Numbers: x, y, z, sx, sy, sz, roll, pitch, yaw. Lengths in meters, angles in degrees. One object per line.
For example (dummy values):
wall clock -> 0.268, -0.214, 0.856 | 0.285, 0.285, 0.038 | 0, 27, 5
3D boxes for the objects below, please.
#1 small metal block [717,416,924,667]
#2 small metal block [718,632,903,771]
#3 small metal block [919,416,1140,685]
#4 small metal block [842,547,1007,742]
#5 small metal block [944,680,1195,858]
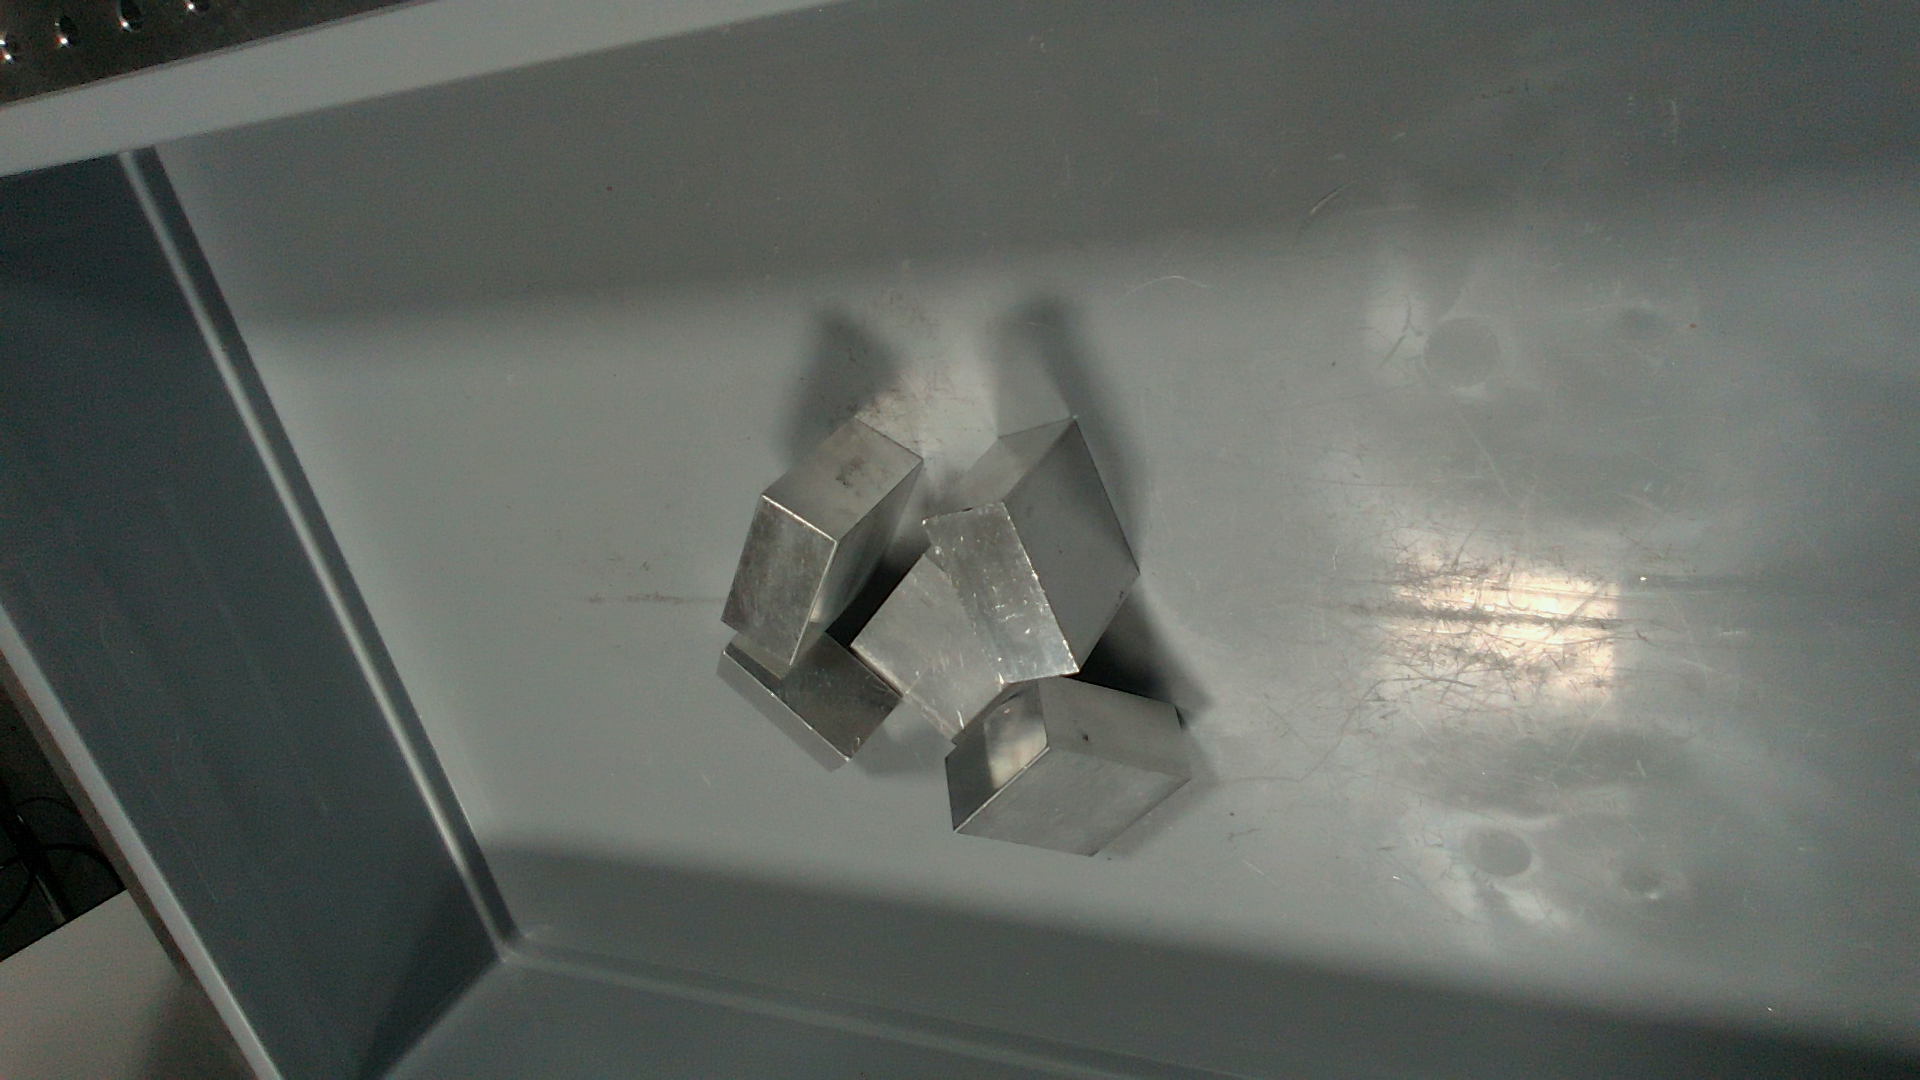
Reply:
small metal block -> -0.040, 0.000, 0.396 | 0.025, 0.050, 0.050 | 32, 129, 8
small metal block -> -0.049, 0.046, 0.431 | 0.050, 0.025, 0.050 | 42, 162, 0
small metal block -> 0.020, 0.002, 0.365 | 0.025, 0.050, 0.050 | -12, 112, 32
small metal block -> 0.001, 0.029, 0.408 | 0.050, 0.025, 0.050 | 41, 129, 0
small metal block -> 0.031, 0.066, 0.399 | 0.050, 0.025, 0.050 | 16, 135, -28
